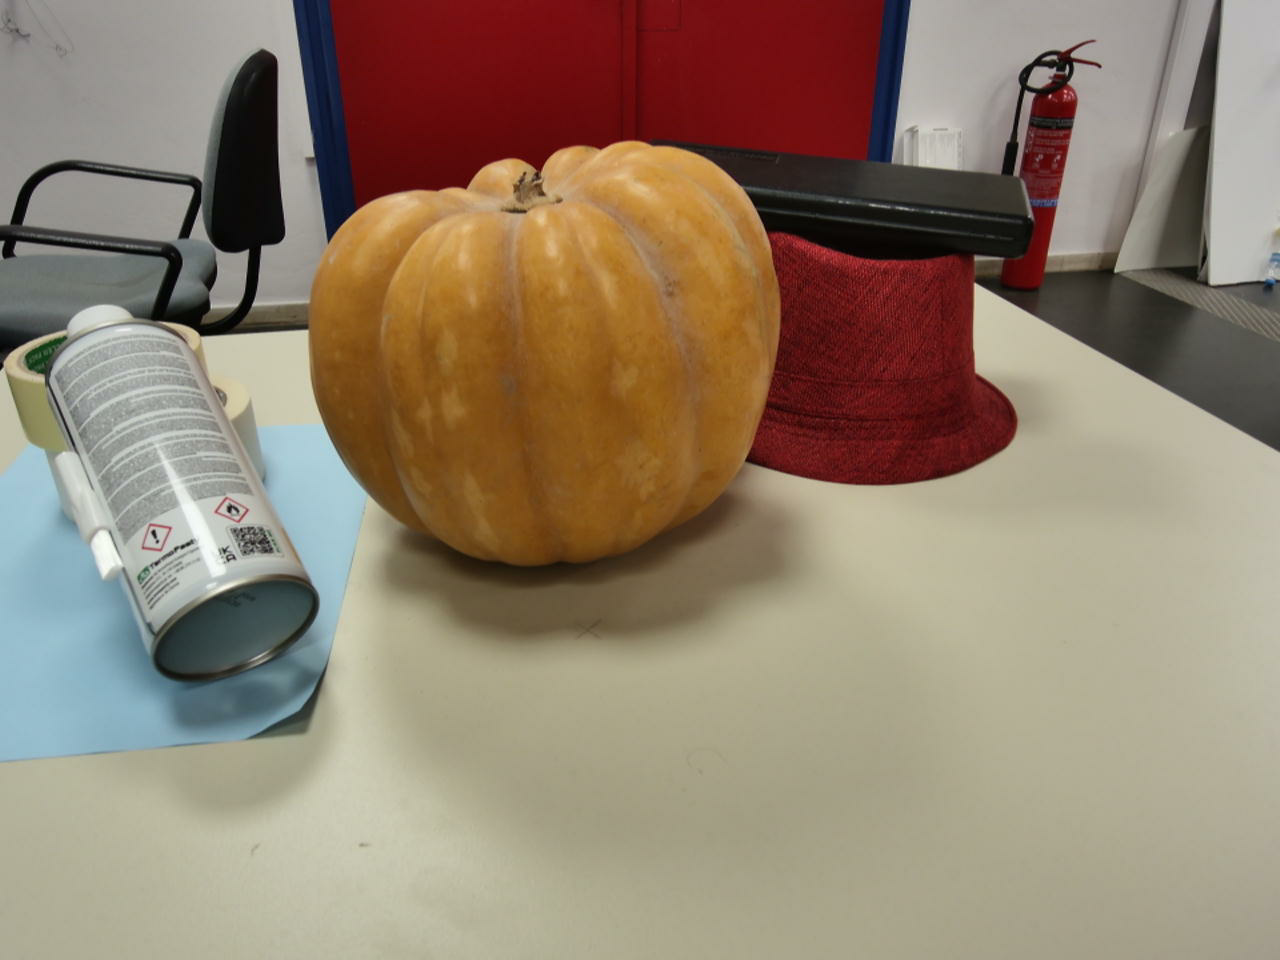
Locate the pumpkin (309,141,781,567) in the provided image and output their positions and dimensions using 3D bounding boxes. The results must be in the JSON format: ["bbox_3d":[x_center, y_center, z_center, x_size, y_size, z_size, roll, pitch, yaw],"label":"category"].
[{"bbox_3d":[-0.041,-0.063,0.496,0.230,0.194,0.230,0,26,0],"label":"pumpkin"}]
